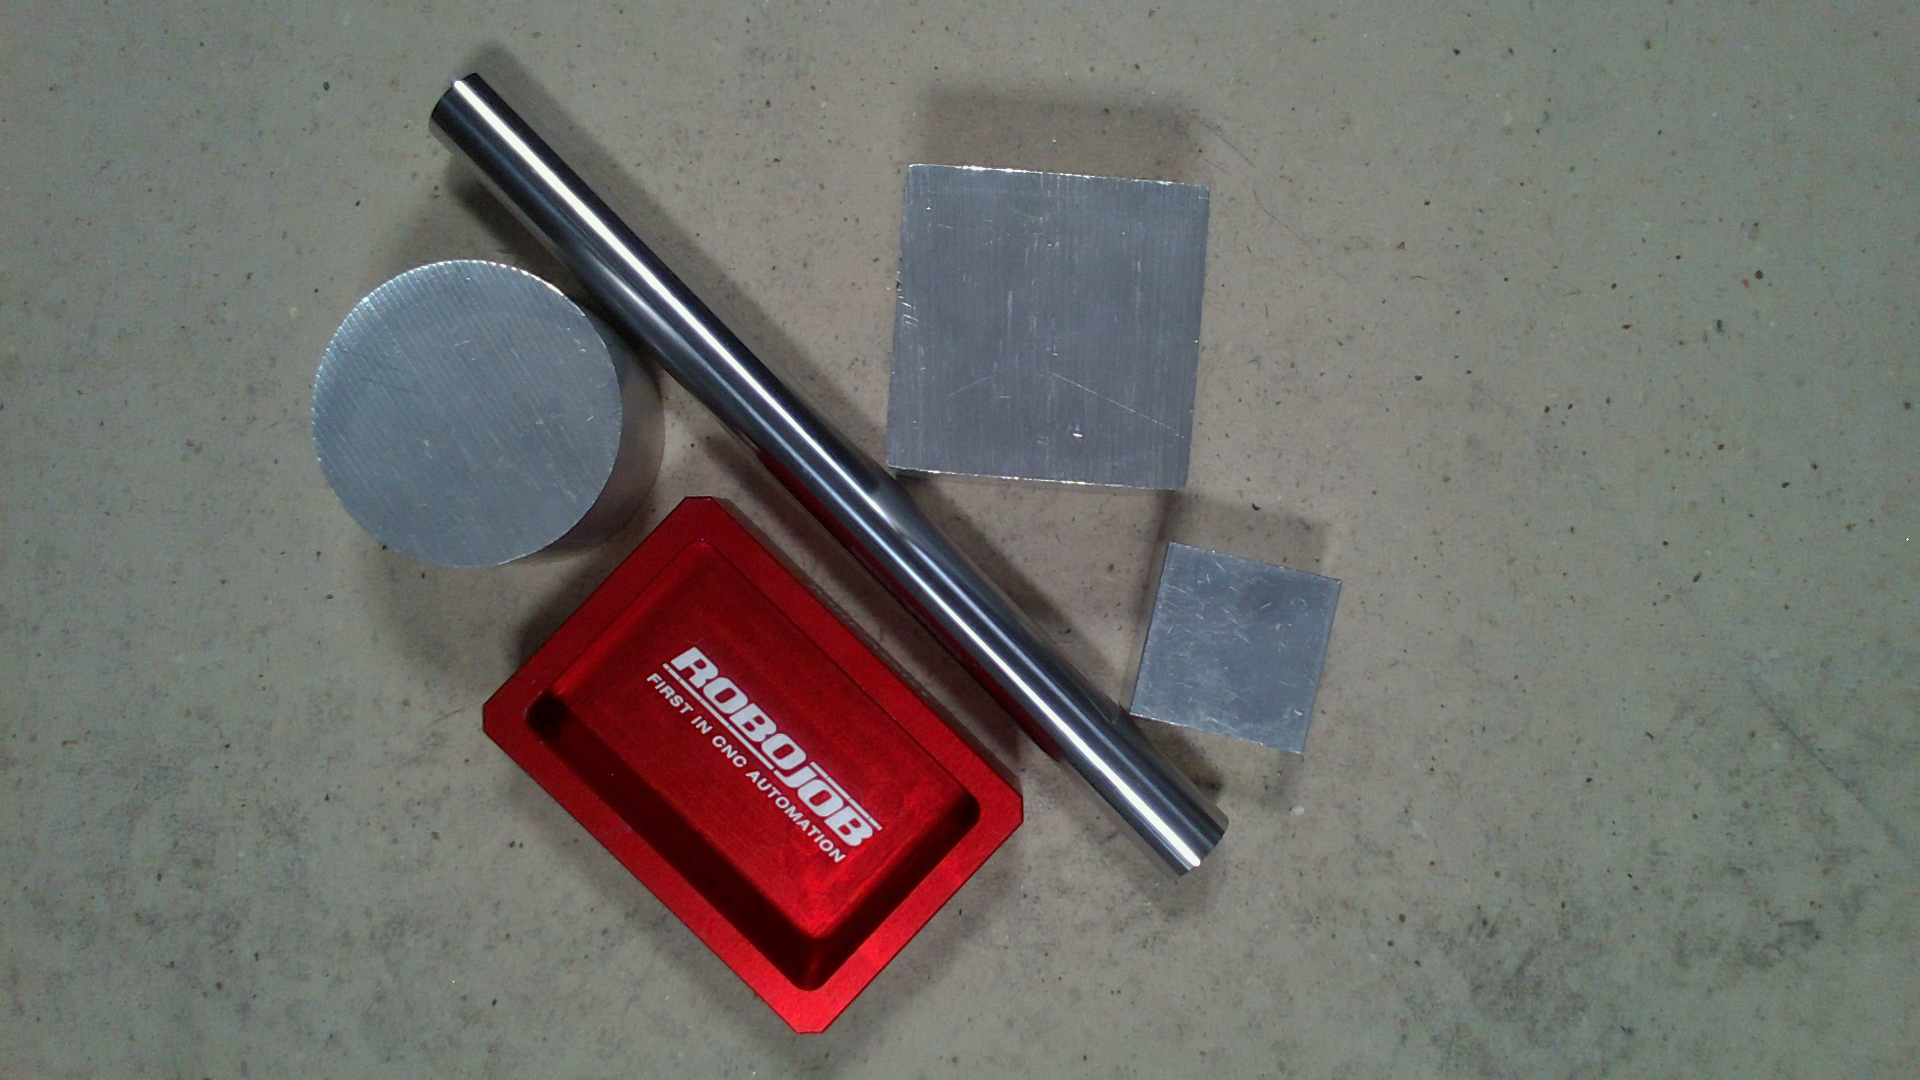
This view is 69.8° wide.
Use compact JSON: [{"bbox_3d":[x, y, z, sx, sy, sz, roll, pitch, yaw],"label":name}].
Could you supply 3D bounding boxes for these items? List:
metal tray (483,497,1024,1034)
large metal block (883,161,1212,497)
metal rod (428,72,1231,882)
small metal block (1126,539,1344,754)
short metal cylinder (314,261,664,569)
[{"bbox_3d":[-0.057,0.062,0.393,0.130,0.030,0.090,44,90,0],"label":"metal tray"},{"bbox_3d":[0.023,-0.056,0.383,0.080,0.050,0.080,4,90,0],"label":"large metal block"},{"bbox_3d":[-0.037,-0.018,0.395,0.025,0.025,0.300,-45,90,0],"label":"metal rod"},{"bbox_3d":[0.077,0.030,0.396,0.050,0.025,0.050,13,90,0],"label":"small metal block"},{"bbox_3d":[-0.128,-0.032,0.382,0.080,0.050,0.080,0,90,0],"label":"short metal cylinder"}]
